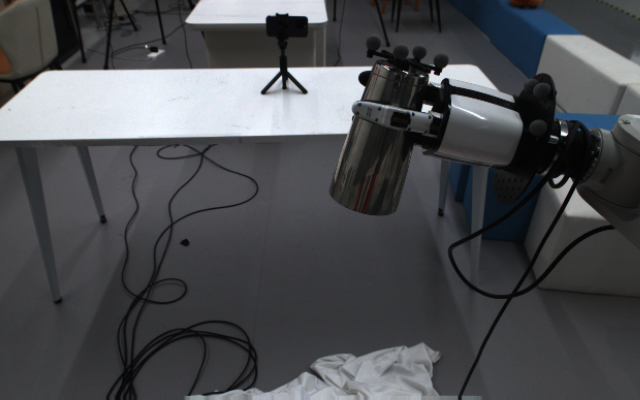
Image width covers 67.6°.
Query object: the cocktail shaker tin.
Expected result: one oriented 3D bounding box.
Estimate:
[{"bbox_3d":[0.079,-0.080,0.594,0.093,0.170,0.093,12,25,-6],"label":"cocktail shaker tin"}]
